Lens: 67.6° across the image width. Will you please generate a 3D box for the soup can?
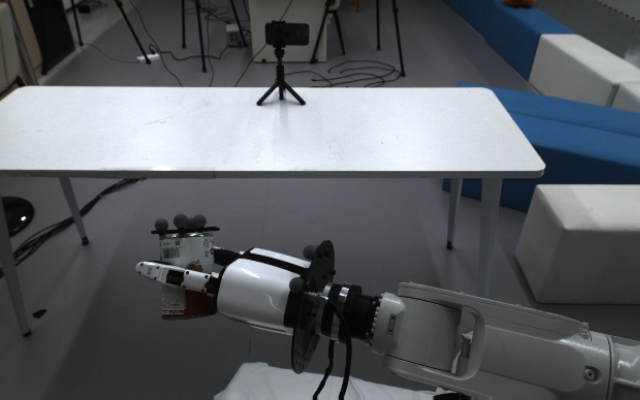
[{"bbox_3d":[-0.164,0.096,0.609,0.067,0.101,0.067,-5,-5,0],"label":"soup can"}]
